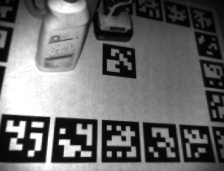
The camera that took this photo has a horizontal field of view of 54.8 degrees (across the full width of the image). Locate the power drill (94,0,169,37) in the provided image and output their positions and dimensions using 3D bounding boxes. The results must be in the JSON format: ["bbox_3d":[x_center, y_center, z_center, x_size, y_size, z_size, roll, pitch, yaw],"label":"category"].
[{"bbox_3d":[0.044,-0.190,0.542,0.186,0.186,0.057,-1,74,-24],"label":"power drill"}]

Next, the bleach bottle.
[{"bbox_3d":[-0.115,-0.096,0.423,0.103,0.250,0.067,-5,72,-18],"label":"bleach bottle"}]

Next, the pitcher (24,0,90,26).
[{"bbox_3d":[-0.114,-0.184,0.477,0.190,0.241,0.133,-25,81,-23],"label":"pitcher"}]
